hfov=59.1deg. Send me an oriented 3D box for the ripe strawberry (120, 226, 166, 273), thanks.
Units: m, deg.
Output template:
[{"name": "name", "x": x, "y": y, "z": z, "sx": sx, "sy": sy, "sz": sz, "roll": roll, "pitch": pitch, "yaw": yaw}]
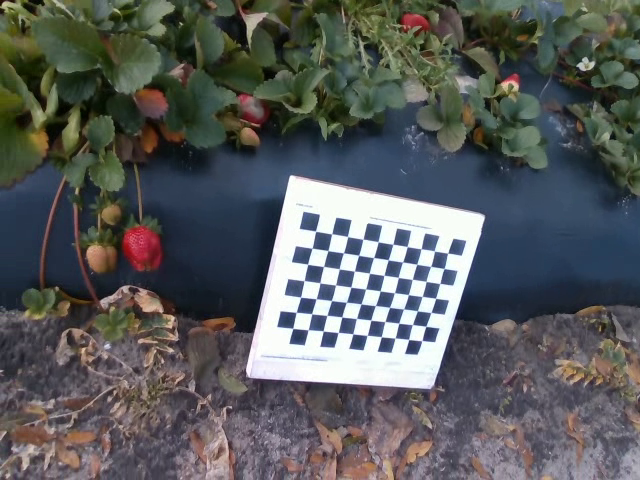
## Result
[{"name": "ripe strawberry", "x": -0.229, "y": 0.012, "z": 0.720, "sx": 0.066, "sy": 0.075, "sz": 0.052, "roll": -10, "pitch": 19, "yaw": -16}]
